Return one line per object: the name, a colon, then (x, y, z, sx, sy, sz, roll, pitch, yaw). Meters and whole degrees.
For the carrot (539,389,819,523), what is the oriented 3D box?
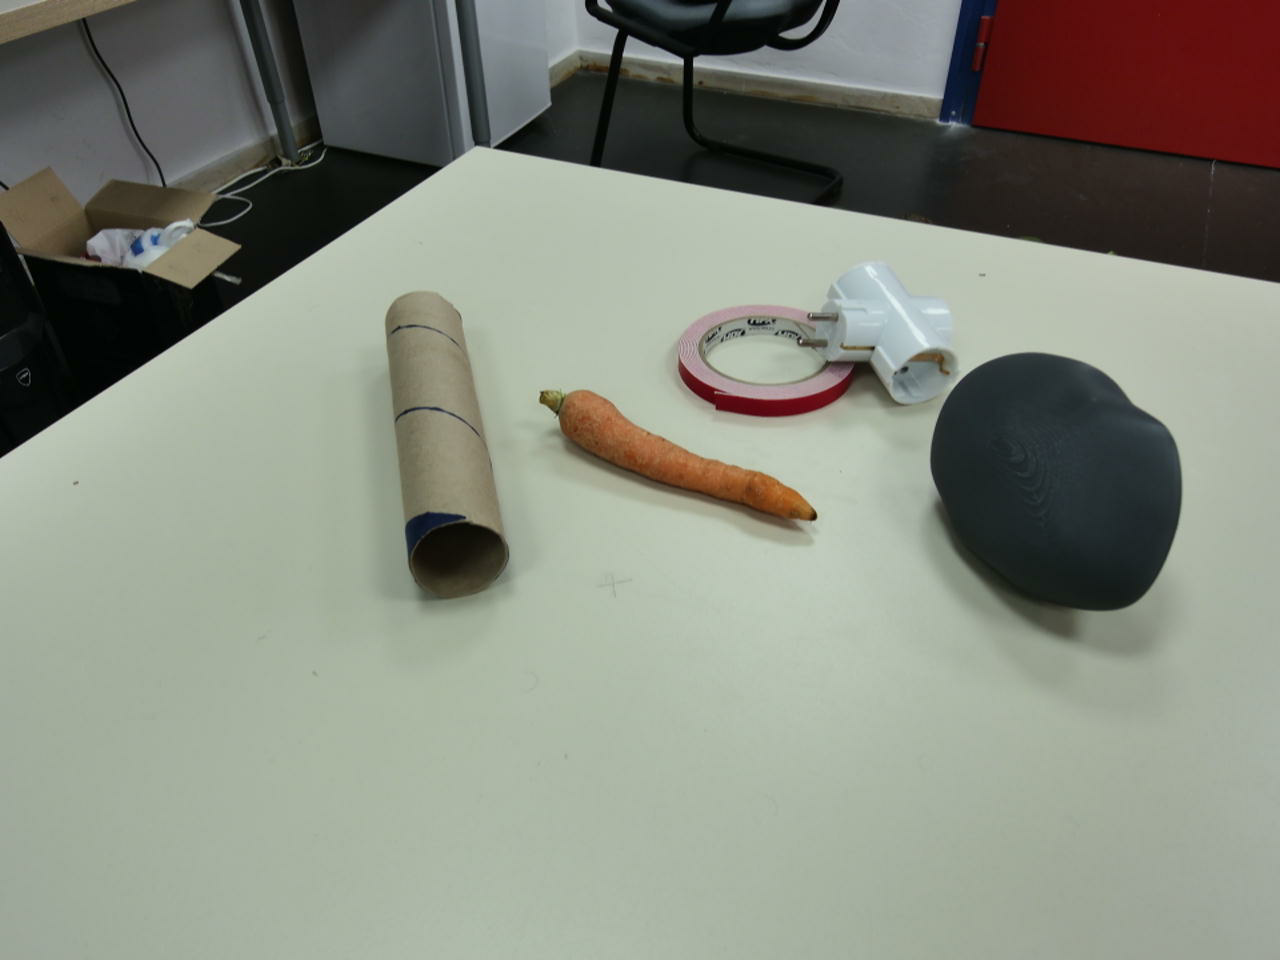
carrot: (0.017, -0.014, 0.536, 0.173, 0.032, 0.030, 23, 44, 27)
